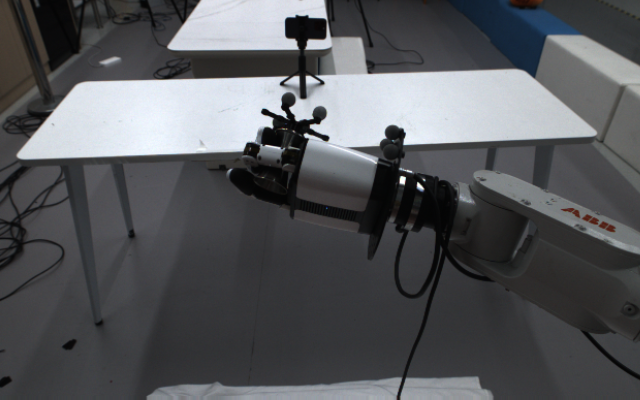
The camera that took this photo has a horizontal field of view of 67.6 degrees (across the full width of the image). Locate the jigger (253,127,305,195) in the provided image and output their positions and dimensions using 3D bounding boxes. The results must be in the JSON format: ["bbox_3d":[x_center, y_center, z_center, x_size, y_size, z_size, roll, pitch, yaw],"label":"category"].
[{"bbox_3d":[-0.046,-0.048,0.577,0.043,0.043,0.071,15,70,18],"label":"jigger"}]
